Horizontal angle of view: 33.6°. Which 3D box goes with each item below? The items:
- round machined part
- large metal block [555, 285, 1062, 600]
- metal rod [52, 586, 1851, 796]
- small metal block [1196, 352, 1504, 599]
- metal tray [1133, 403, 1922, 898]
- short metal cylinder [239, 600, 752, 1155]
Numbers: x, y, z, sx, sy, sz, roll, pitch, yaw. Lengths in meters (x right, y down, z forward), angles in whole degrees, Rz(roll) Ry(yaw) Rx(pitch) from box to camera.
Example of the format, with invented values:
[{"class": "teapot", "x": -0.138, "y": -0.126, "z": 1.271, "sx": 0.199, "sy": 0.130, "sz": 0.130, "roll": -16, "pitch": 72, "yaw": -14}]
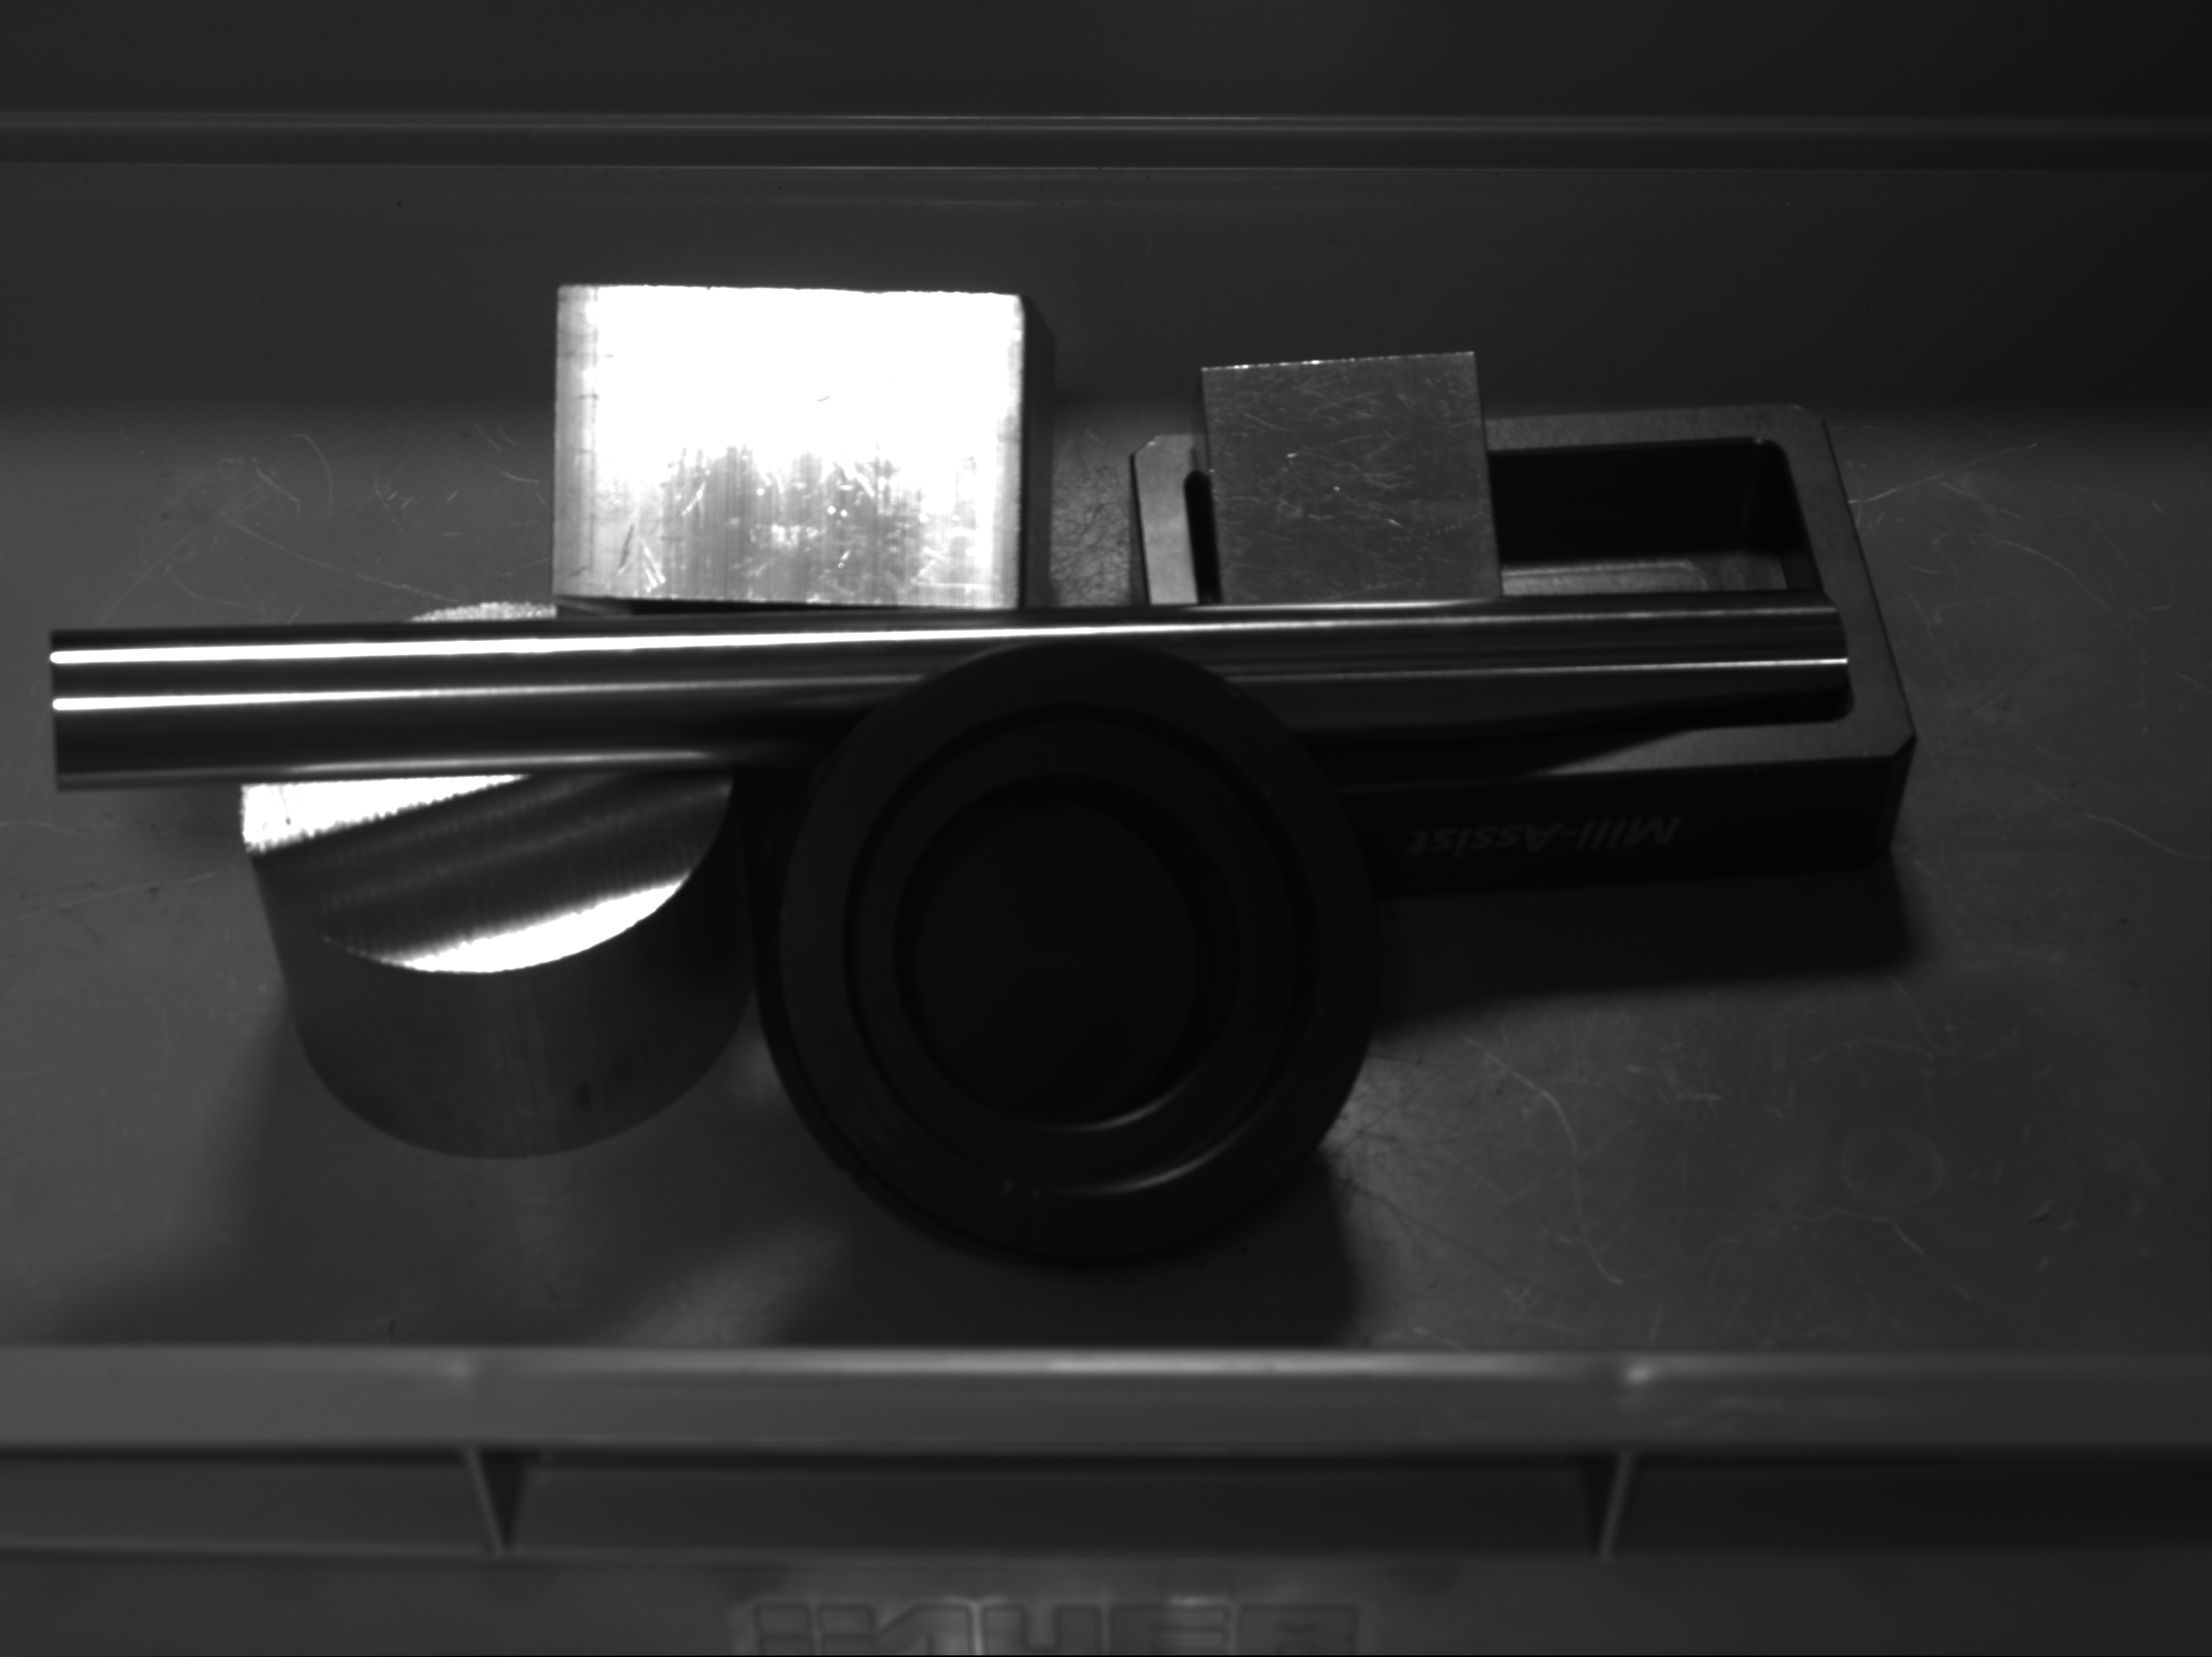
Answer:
[{"class": "round machined part", "x": -0.008, "y": 0.021, "z": 0.591, "sx": 0.098, "sy": 0.042, "sz": 0.098, "roll": 2, "pitch": 83, "yaw": -14}, {"class": "large metal block", "x": -0.050, "y": -0.066, "z": 0.651, "sx": 0.080, "sy": 0.080, "sz": 0.050, "roll": 2, "pitch": 92, "yaw": 3}, {"class": "metal rod", "x": -0.018, "y": -0.024, "z": 0.607, "sx": 0.300, "sy": 0.025, "sz": 0.025, "roll": -3, "pitch": 49, "yaw": -16}, {"class": "small metal block", "x": 0.043, "y": -0.056, "z": 0.660, "sx": 0.050, "sy": 0.025, "sz": 0.050, "roll": -4, "pitch": 76, "yaw": -3}, {"class": "metal tray", "x": 0.073, "y": -0.033, "z": 0.664, "sx": 0.130, "sy": 0.030, "sz": 0.090, "roll": -3, "pitch": 50, "yaw": -3}, {"class": "short metal cylinder", "x": -0.101, "y": 0.008, "z": 0.617, "sx": 0.080, "sy": 0.050, "sz": 0.080, "roll": 0, "pitch": 50, "yaw": 0}]
